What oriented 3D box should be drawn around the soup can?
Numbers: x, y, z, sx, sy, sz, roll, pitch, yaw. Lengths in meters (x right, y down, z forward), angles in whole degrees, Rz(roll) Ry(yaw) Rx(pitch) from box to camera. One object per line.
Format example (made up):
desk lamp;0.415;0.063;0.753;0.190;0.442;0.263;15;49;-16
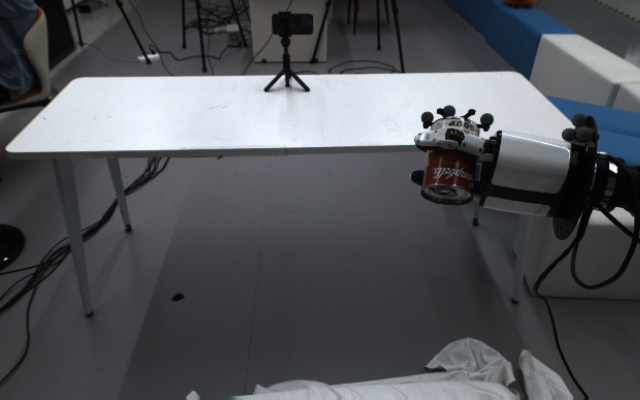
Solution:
soup can;0.177;-0.053;0.648;0.067;0.067;0.101;9;70;10
